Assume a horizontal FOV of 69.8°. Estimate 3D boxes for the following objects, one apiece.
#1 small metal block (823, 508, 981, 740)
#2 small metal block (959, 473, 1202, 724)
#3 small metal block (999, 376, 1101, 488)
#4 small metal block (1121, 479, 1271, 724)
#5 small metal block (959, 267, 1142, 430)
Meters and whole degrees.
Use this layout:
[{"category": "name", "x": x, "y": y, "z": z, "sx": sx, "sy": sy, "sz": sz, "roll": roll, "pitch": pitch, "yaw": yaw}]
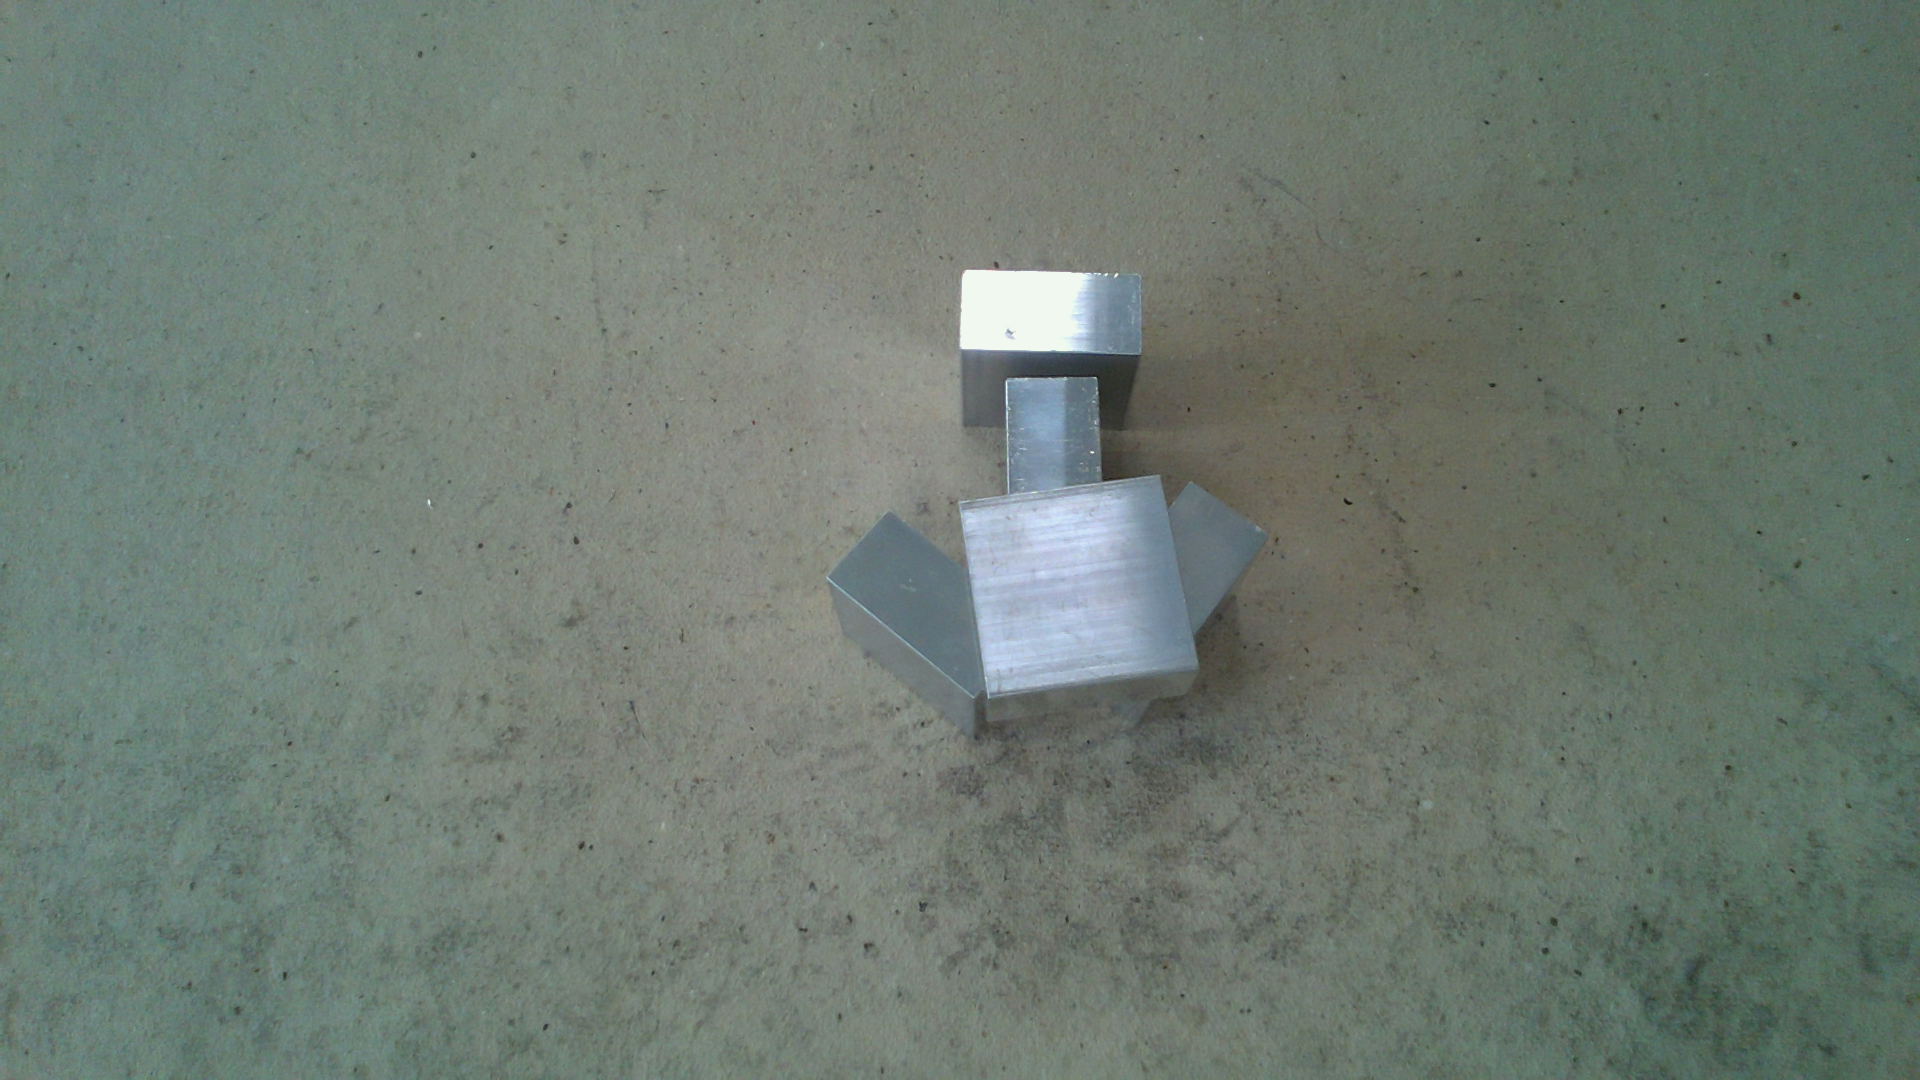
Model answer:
[{"category": "small metal block", "x": -0.008, "y": 0.024, "z": 0.372, "sx": 0.050, "sy": 0.050, "sz": 0.025, "roll": 38, "pitch": 74, "yaw": 12}, {"category": "small metal block", "x": 0.028, "y": 0.015, "z": 0.337, "sx": 0.050, "sy": 0.025, "sz": 0.050, "roll": -8, "pitch": 70, "yaw": -2}, {"category": "small metal block", "x": 0.024, "y": -0.012, "z": 0.387, "sx": 0.025, "sy": 0.050, "sz": 0.050, "roll": -1, "pitch": 69, "yaw": -1}, {"category": "small metal block", "x": 0.056, "y": 0.018, "z": 0.376, "sx": 0.025, "sy": 0.050, "sz": 0.050, "roll": 35, "pitch": 74, "yaw": 12}, {"category": "small metal block", "x": 0.025, "y": -0.055, "z": 0.402, "sx": 0.050, "sy": 0.050, "sz": 0.025, "roll": 2, "pitch": 70, "yaw": 0}]
